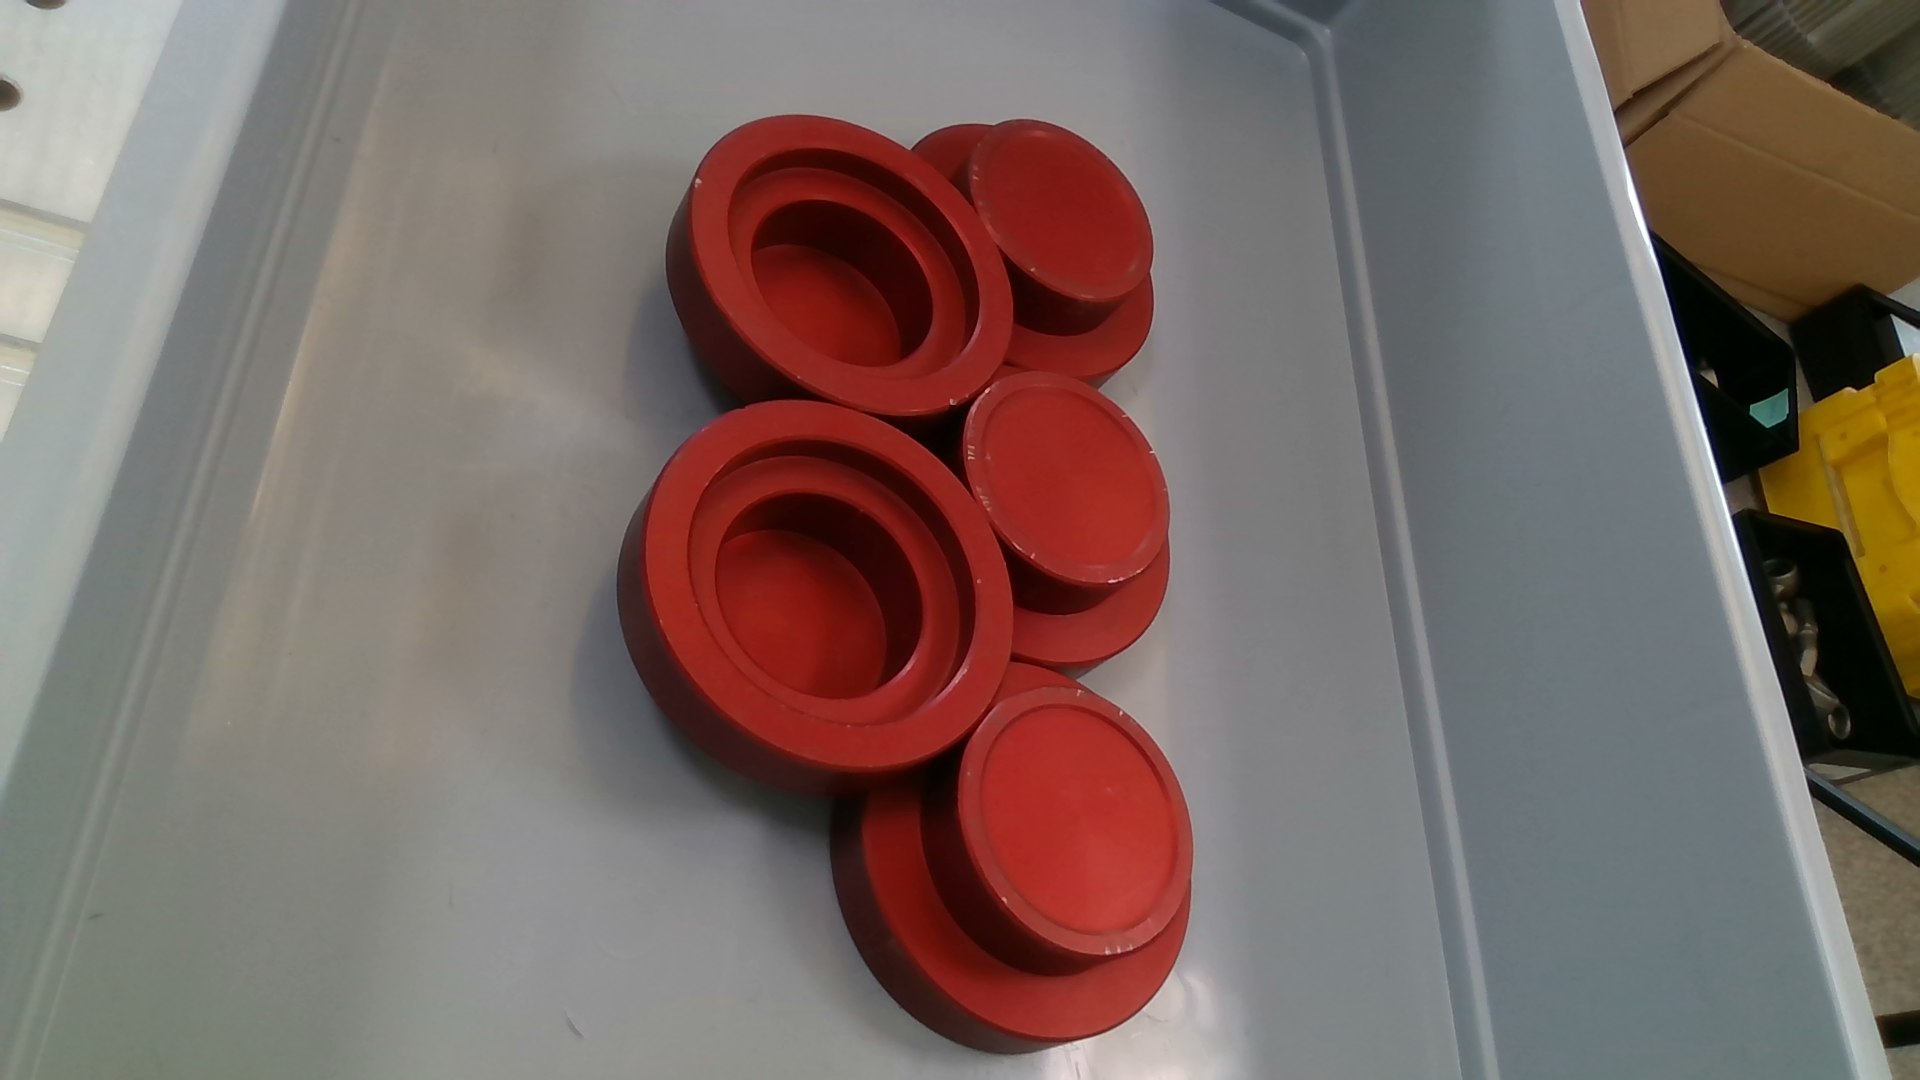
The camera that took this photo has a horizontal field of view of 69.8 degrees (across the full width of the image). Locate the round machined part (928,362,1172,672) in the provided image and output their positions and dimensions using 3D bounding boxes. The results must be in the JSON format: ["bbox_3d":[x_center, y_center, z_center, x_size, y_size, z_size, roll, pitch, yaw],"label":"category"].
[{"bbox_3d":[0.022,-0.011,0.399,0.098,0.042,0.098,15,58,-25],"label":"round machined part"}]

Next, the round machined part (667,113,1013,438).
[{"bbox_3d":[-0.037,-0.069,0.395,0.098,0.042,0.098,14,59,-25],"label":"round machined part"}]

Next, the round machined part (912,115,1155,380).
[{"bbox_3d":[0.024,-0.096,0.445,0.098,0.042,0.098,15,59,-26],"label":"round machined part"}]

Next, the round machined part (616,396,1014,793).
[{"bbox_3d":[-0.039,0.016,0.348,0.098,0.042,0.098,14,59,-25],"label":"round machined part"}]

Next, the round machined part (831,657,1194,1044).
[{"bbox_3d":[0.020,0.075,0.352,0.098,0.042,0.098,15,58,-25],"label":"round machined part"}]
